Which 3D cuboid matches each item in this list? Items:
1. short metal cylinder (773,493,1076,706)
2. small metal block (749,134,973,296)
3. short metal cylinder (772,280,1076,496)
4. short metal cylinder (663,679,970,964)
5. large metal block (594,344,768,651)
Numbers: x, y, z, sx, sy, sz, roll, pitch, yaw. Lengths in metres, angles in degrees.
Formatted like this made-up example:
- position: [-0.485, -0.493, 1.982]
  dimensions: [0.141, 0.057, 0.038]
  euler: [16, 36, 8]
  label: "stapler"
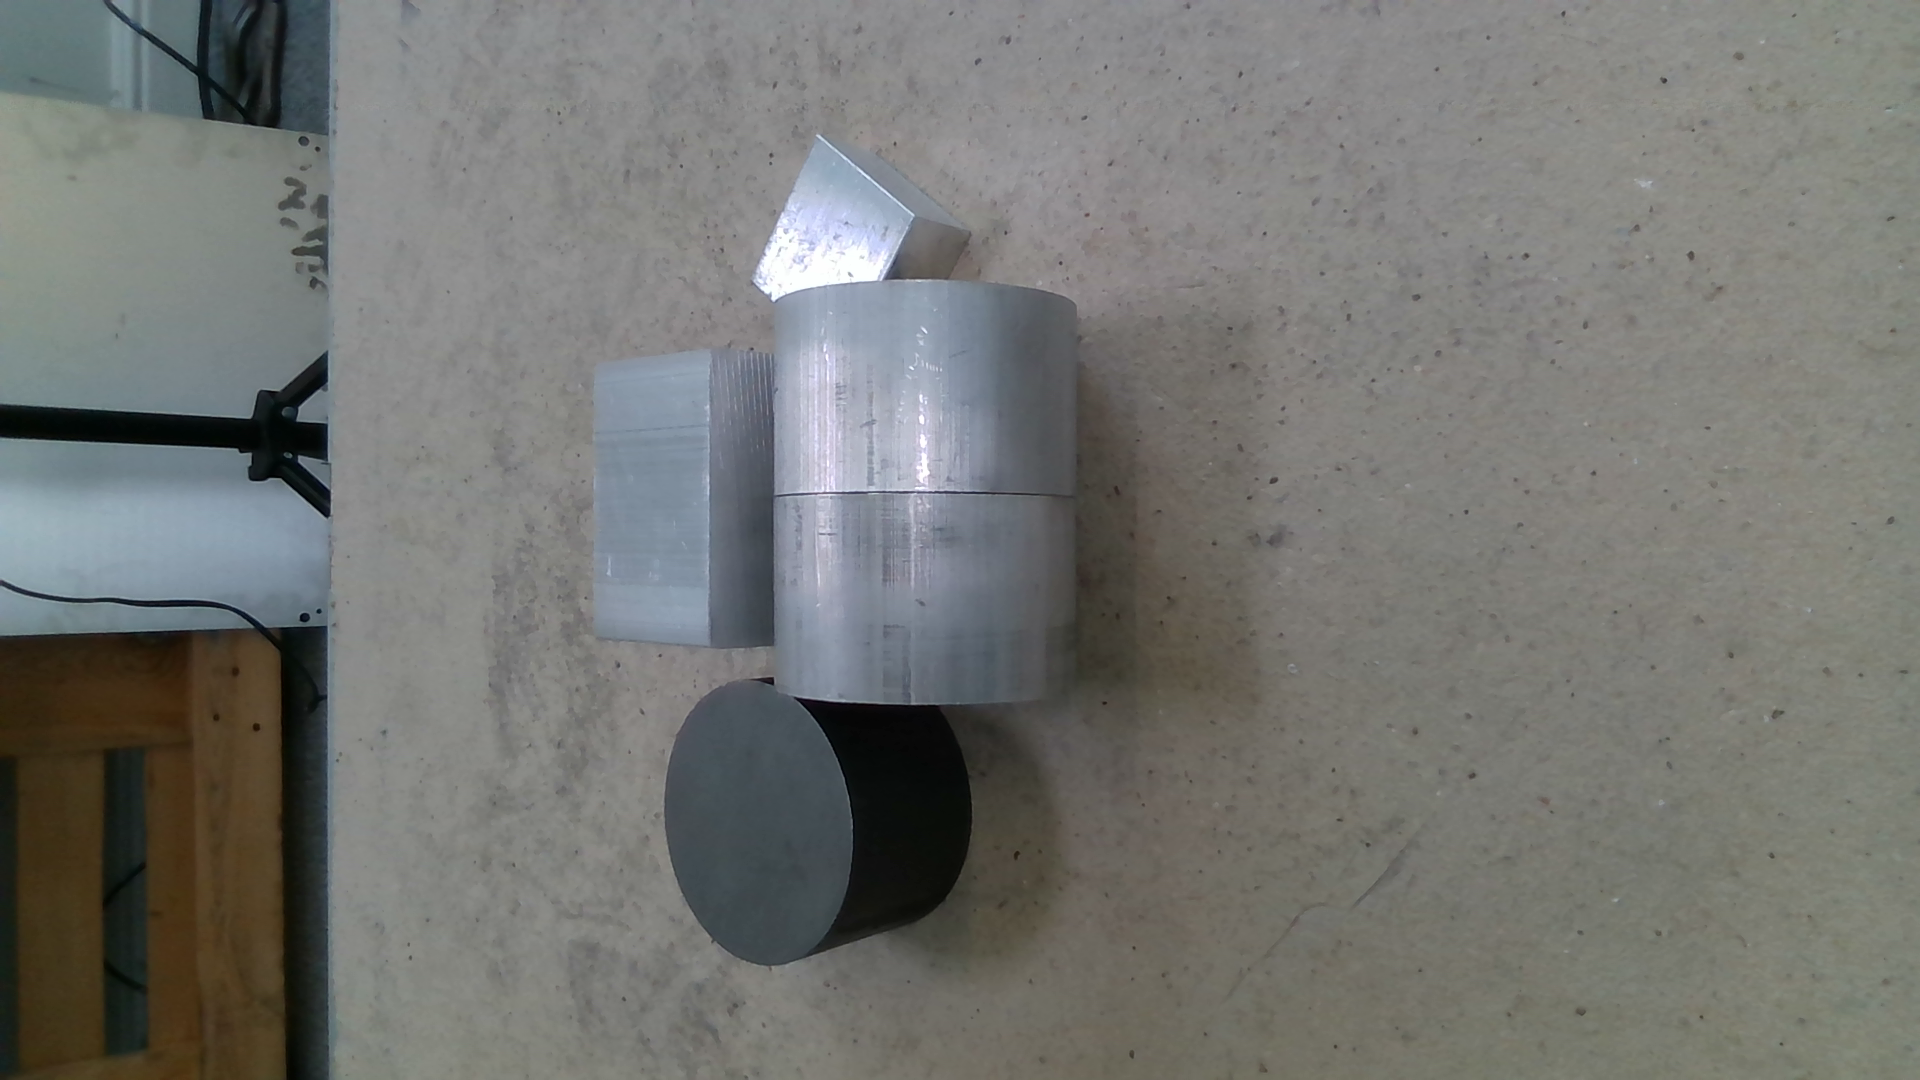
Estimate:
- position: [-0.009, 0.014, 0.363]
  dimensions: [0.080, 0.080, 0.050]
  euler: [1, 91, 40]
  label: "short metal cylinder"
- position: [-0.031, -0.086, 0.417]
  dimensions: [0.050, 0.025, 0.050]
  euler: [45, 118, 30]
  label: "small metal block"
- position: [-0.009, -0.036, 0.363]
  dimensions: [0.080, 0.080, 0.050]
  euler: [1, 91, 40]
  label: "short metal cylinder"
- position: [-0.044, 0.080, 0.412]
  dimensions: [0.080, 0.050, 0.080]
  euler: [0, 91, 40]
  label: "short metal cylinder"
- position: [-0.059, -0.011, 0.406]
  dimensions: [0.050, 0.080, 0.080]
  euler: [1, 91, 40]
  label: "large metal block"
